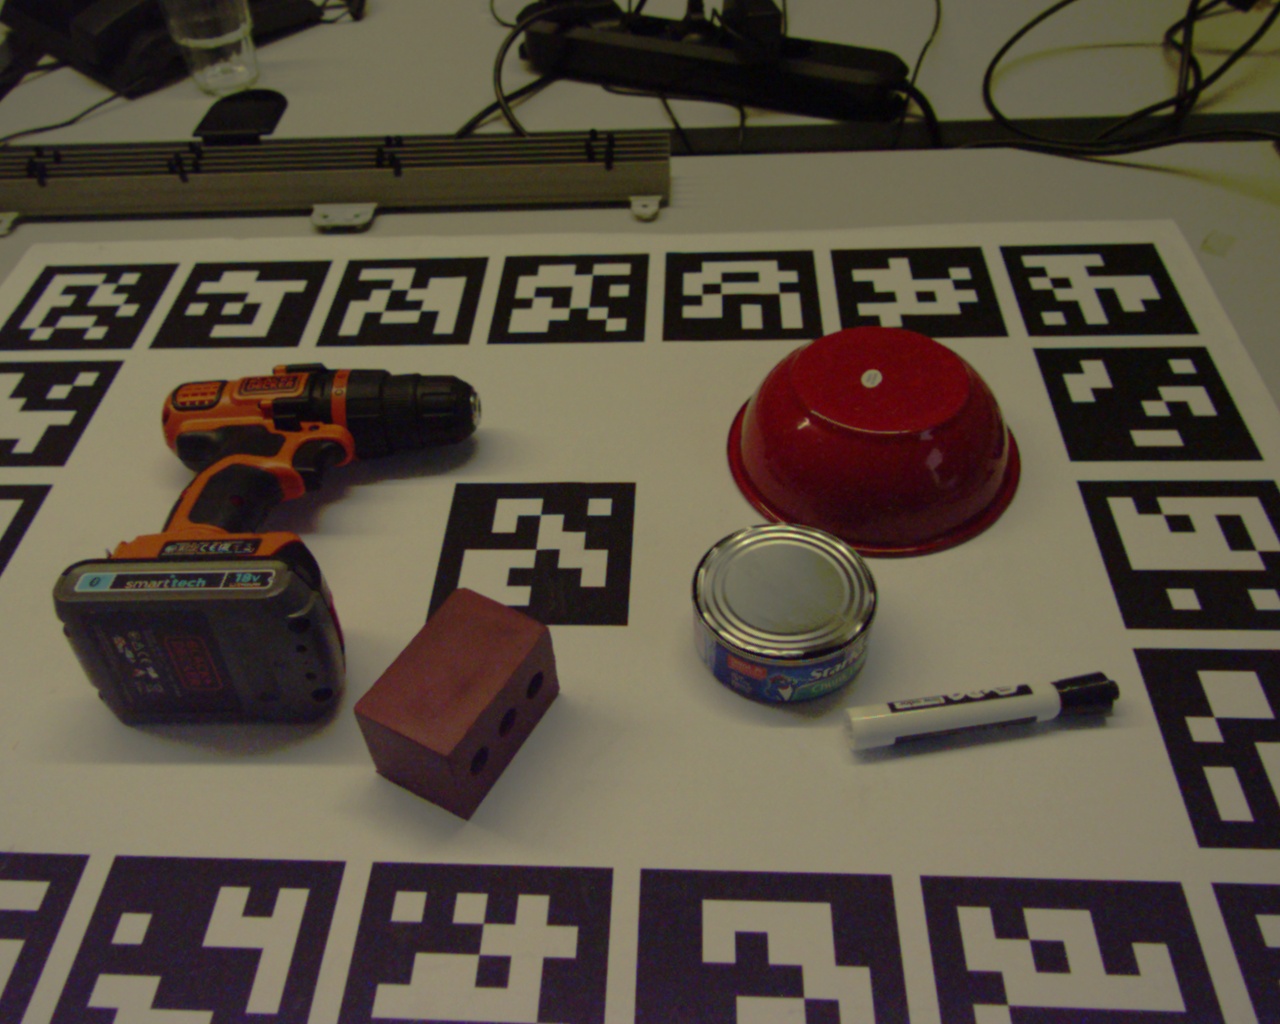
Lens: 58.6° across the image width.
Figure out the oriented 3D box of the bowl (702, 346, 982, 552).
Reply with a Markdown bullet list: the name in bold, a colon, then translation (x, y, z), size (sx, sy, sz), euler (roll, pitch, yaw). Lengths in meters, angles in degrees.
- **bowl**: translation (0.116, -0.049, 0.658), size (0.162, 0.055, 0.162), euler (-5, 39, 3)

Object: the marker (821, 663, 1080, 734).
- **marker**: translation (0.146, 0.087, 0.534), size (0.121, 0.019, 0.020), euler (-7, 48, -3)

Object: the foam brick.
- **foam brick**: translation (-0.084, 0.088, 0.538), size (0.052, 0.052, 0.078), euler (19, 51, 18)

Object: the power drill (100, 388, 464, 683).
- **power drill**: translation (-0.196, 0.004, 0.621), size (0.184, 0.057, 0.187), euler (1, 44, 0)

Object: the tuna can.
- **tuna can**: translation (0.062, 0.045, 0.572), size (0.086, 0.033, 0.086), euler (-1, 46, 0)
